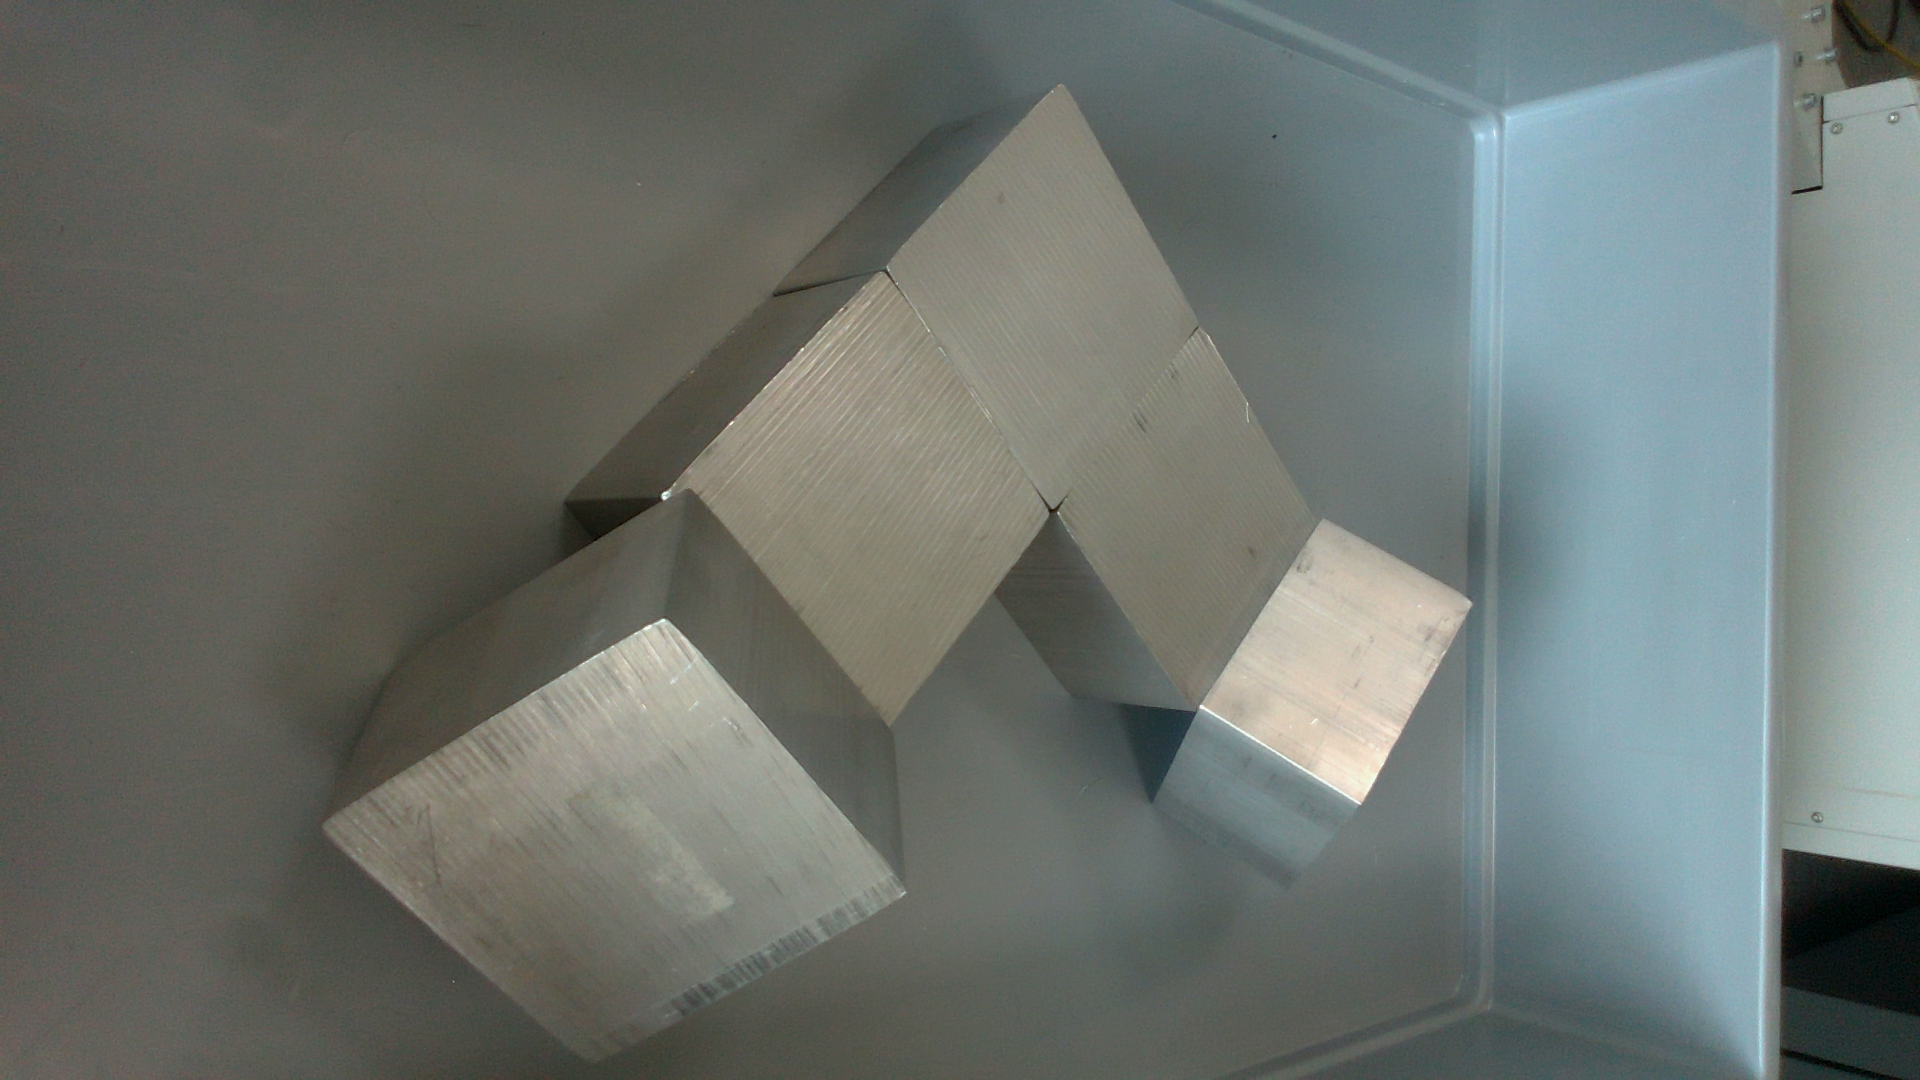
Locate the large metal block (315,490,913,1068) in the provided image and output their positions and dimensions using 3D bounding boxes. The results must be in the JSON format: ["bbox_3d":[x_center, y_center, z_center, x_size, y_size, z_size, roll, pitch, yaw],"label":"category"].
[{"bbox_3d":[-0.067,0.051,0.287,0.080,0.050,0.080,-31,117,10],"label":"large metal block"}]

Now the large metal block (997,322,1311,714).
[{"bbox_3d":[0.053,-0.006,0.415,0.080,0.050,0.080,-51,120,-27],"label":"large metal block"}]

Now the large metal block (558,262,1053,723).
[{"bbox_3d":[-0.035,-0.009,0.341,0.080,0.050,0.080,-51,120,-27],"label":"large metal block"}]

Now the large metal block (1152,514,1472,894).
[{"bbox_3d":[0.109,0.053,0.434,0.080,0.050,0.080,-51,163,-27],"label":"large metal block"}]

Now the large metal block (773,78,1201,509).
[{"bbox_3d":[0.010,-0.065,0.379,0.080,0.050,0.080,-51,120,-27],"label":"large metal block"}]
